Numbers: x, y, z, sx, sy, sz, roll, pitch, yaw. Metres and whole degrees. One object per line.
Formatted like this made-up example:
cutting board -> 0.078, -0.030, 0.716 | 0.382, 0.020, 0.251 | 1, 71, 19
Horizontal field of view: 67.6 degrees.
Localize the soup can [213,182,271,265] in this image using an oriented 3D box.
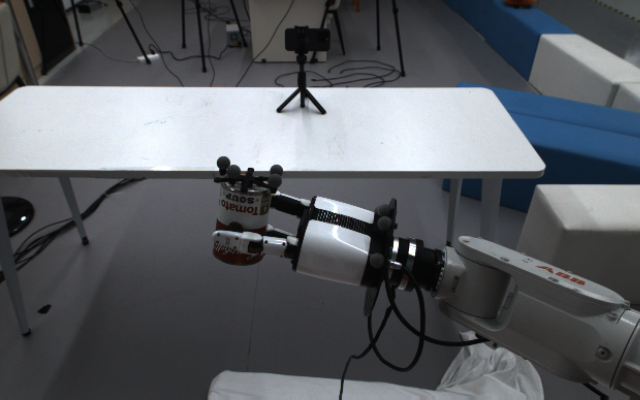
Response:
soup can -> -0.100, 0.025, 0.632 | 0.067, 0.101, 0.067 | 9, 20, -3
